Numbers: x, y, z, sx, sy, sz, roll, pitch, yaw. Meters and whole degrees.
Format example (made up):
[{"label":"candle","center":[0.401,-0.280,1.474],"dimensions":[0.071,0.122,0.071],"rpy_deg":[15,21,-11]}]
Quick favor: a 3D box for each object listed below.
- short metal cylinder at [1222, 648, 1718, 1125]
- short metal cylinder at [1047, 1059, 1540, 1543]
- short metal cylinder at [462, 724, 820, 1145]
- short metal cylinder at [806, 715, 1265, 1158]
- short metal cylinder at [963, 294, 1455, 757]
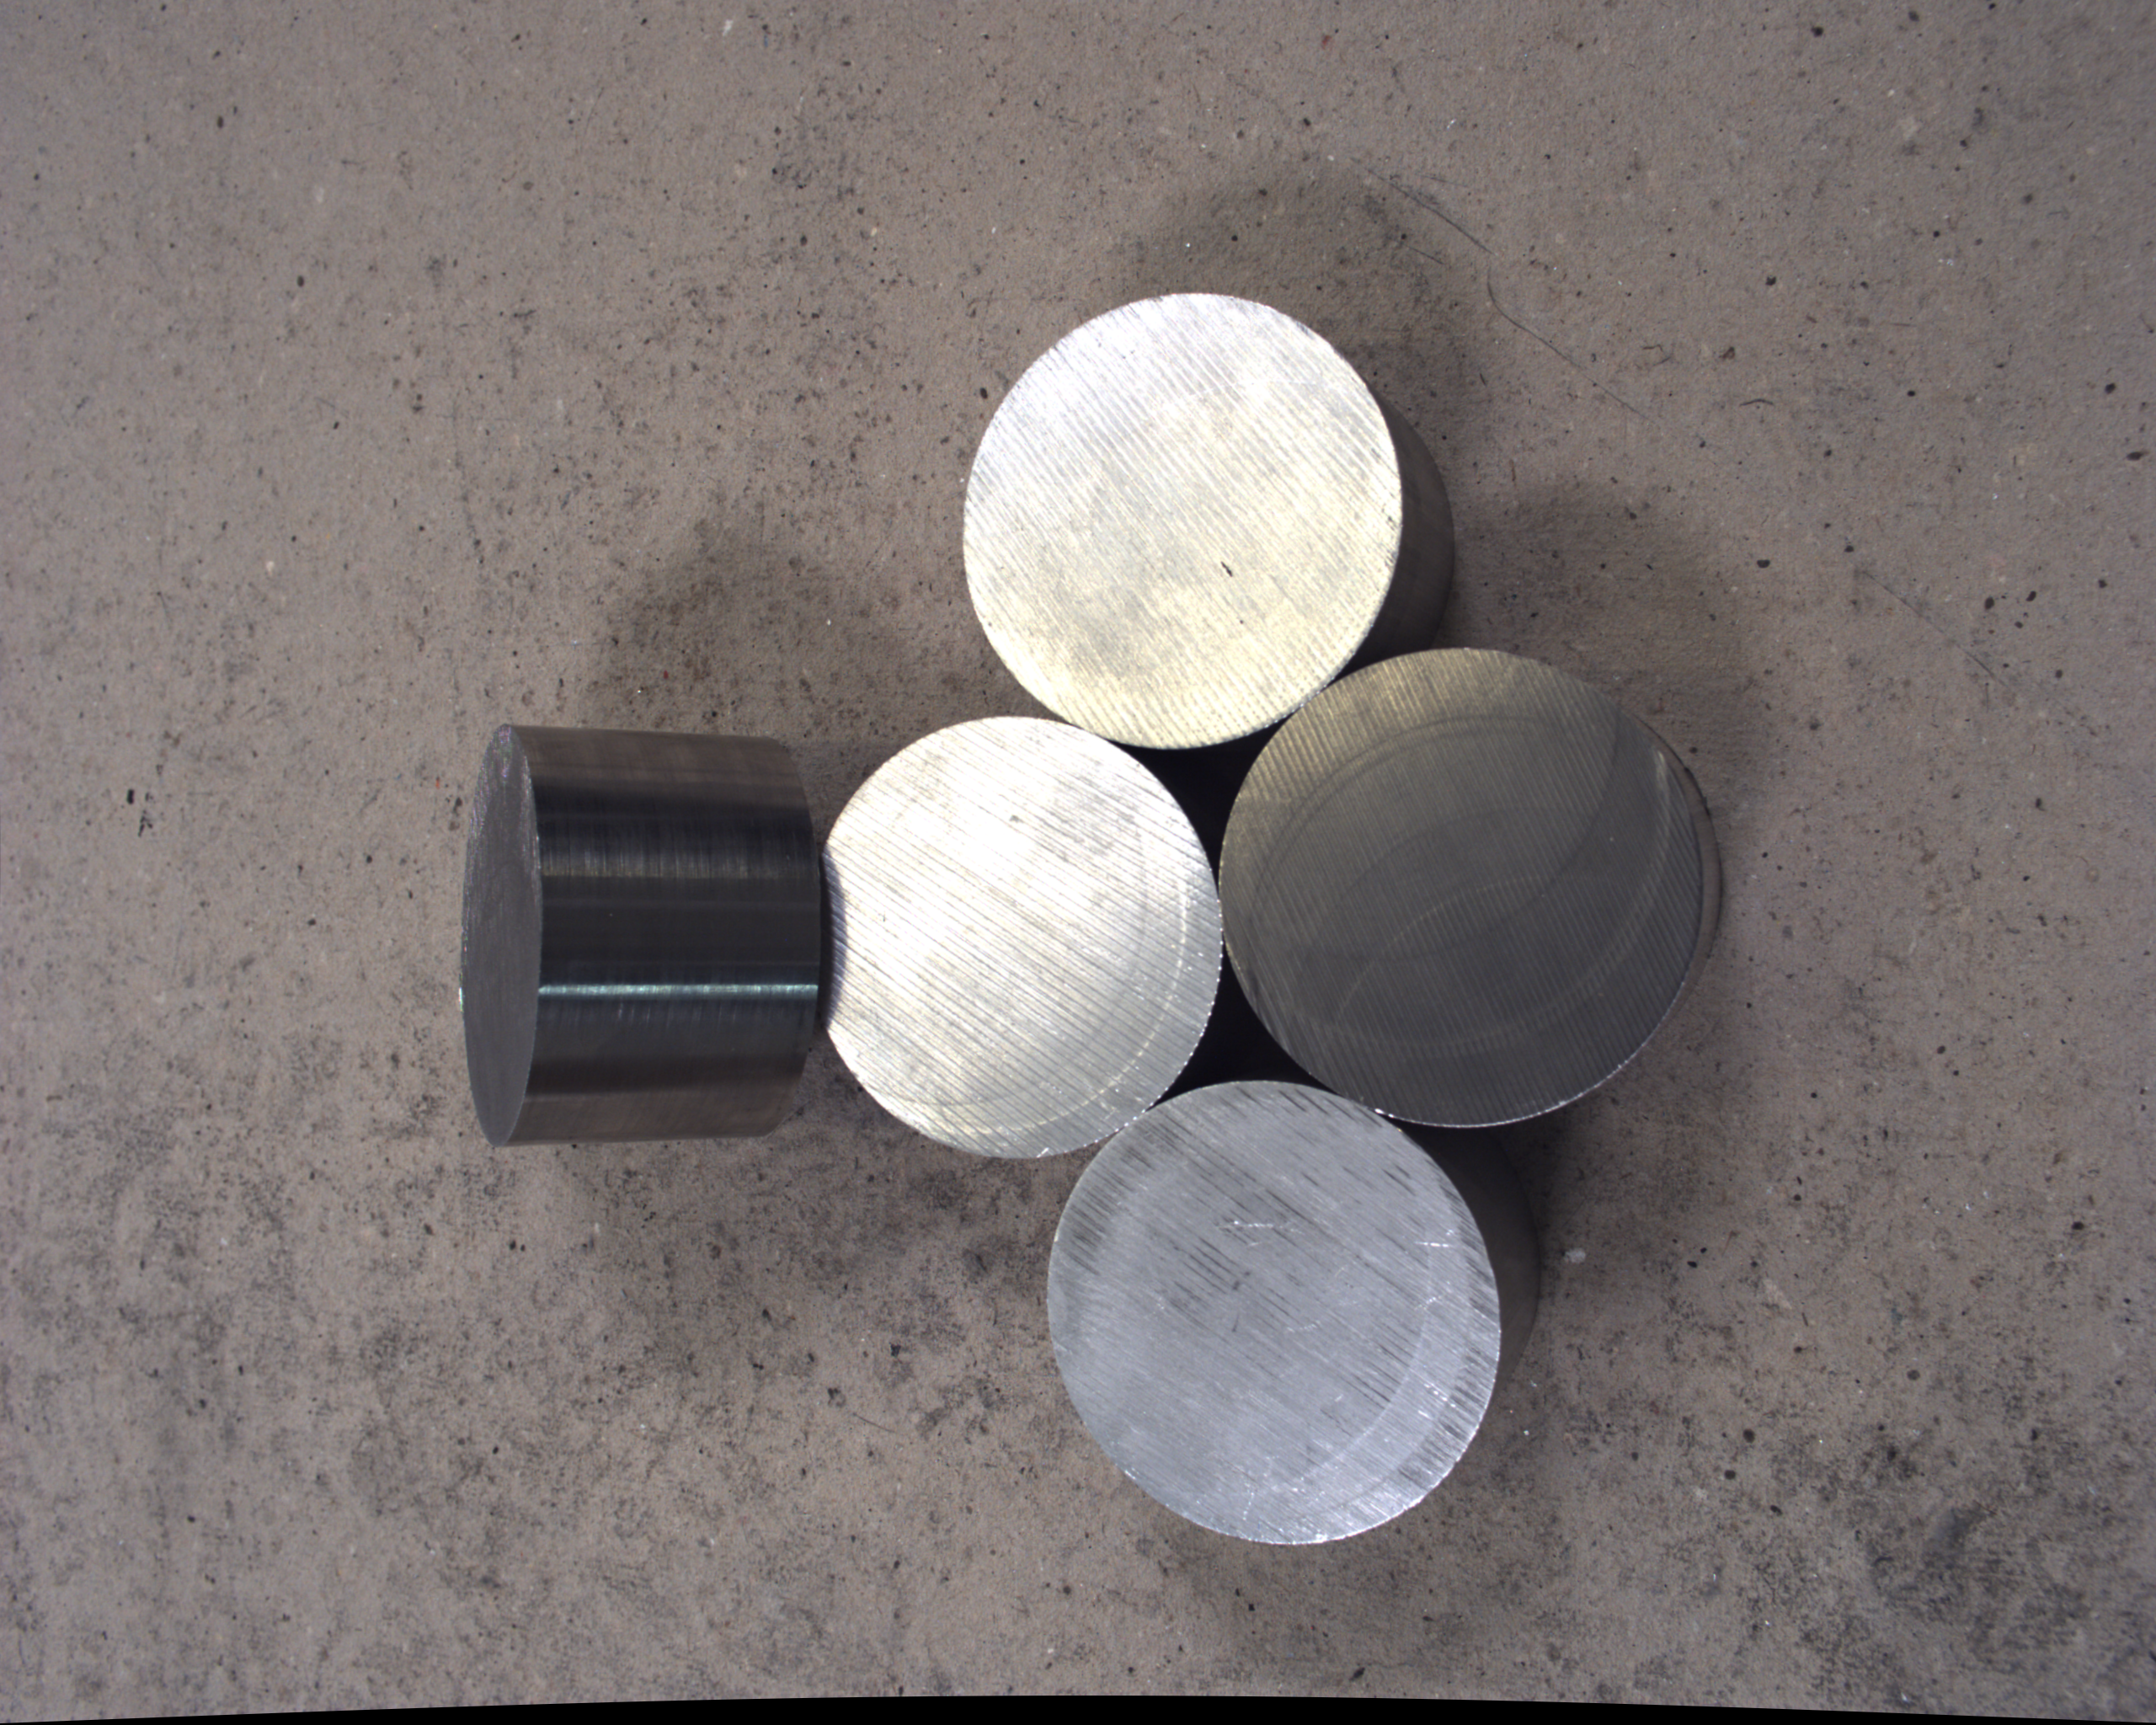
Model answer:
[{"label":"short metal cylinder","center":[0.071,0.004,0.372],"dimensions":[0.080,0.050,0.080],"rpy_deg":[0,90,20]},{"label":"short metal cylinder","center":[0.041,0.077,0.382],"dimensions":[0.080,0.050,0.080],"rpy_deg":[0,90,20]},{"label":"short metal cylinder","center":[-0.087,0.014,0.406],"dimensions":[0.080,0.050,0.080],"rpy_deg":[-6,83,64]},{"label":"short metal cylinder","center":[-0.004,0.013,0.398],"dimensions":[0.080,0.050,0.080],"rpy_deg":[0,90,20]},{"label":"short metal cylinder","center":[0.026,-0.060,0.388],"dimensions":[0.080,0.050,0.080],"rpy_deg":[0,90,20]}]
